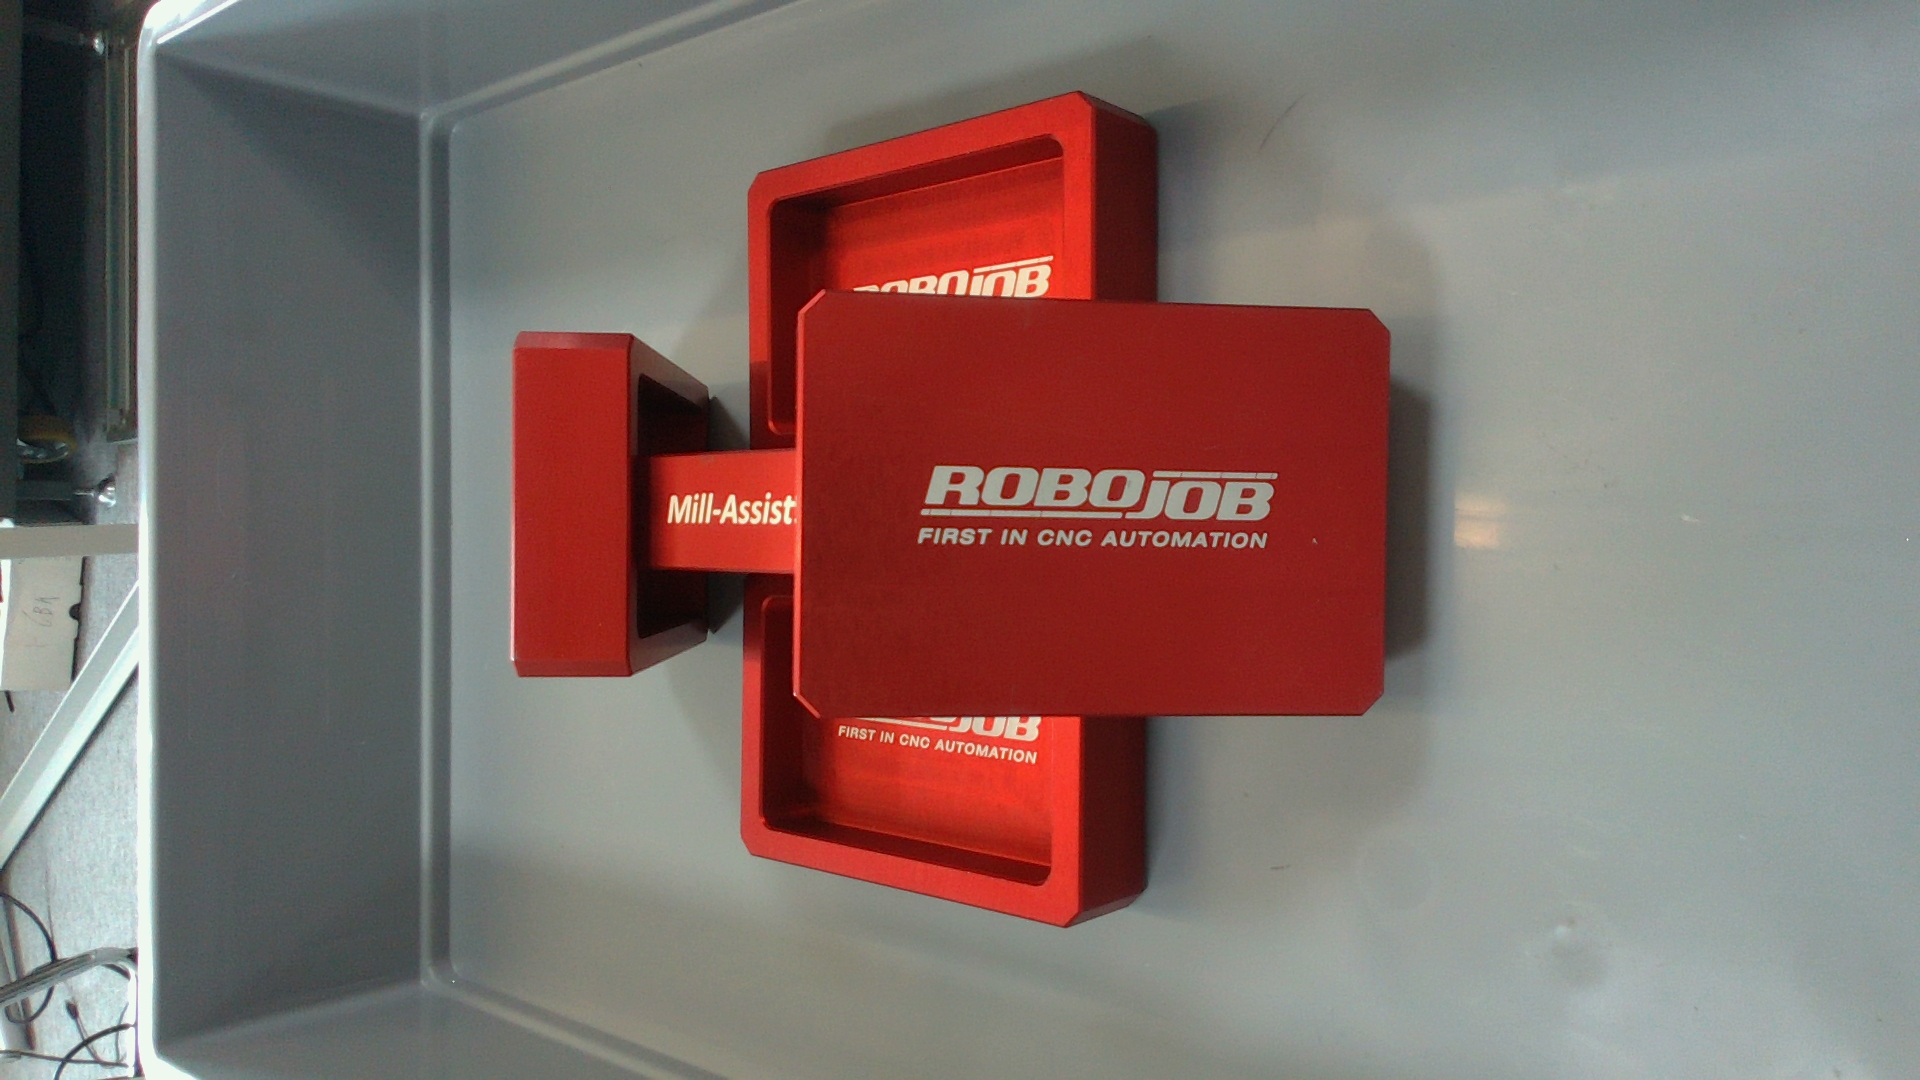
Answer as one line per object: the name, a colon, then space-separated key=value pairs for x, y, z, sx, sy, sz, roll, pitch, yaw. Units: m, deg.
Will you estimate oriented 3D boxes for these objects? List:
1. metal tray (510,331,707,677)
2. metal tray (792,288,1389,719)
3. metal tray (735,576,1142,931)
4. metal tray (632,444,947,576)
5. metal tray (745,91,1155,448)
metal tray: x=-0.102 y=-0.009 z=0.419 sx=0.030 sy=0.130 sz=0.090 roll=0 pitch=90 yaw=-1
metal tray: x=0.028 y=-0.007 z=0.309 sx=0.030 sy=0.130 sz=0.090 roll=-177 pitch=88 yaw=-82
metal tray: x=-0.010 y=0.053 z=0.397 sx=0.129 sy=0.030 sz=0.090 roll=0 pitch=90 yaw=39
metal tray: x=-0.030 y=-0.007 z=0.376 sx=0.129 sy=0.090 sz=0.030 roll=0 pitch=90 yaw=39
metal tray: x=-0.007 y=-0.068 z=0.396 sx=0.129 sy=0.030 sz=0.090 roll=0 pitch=90 yaw=39
